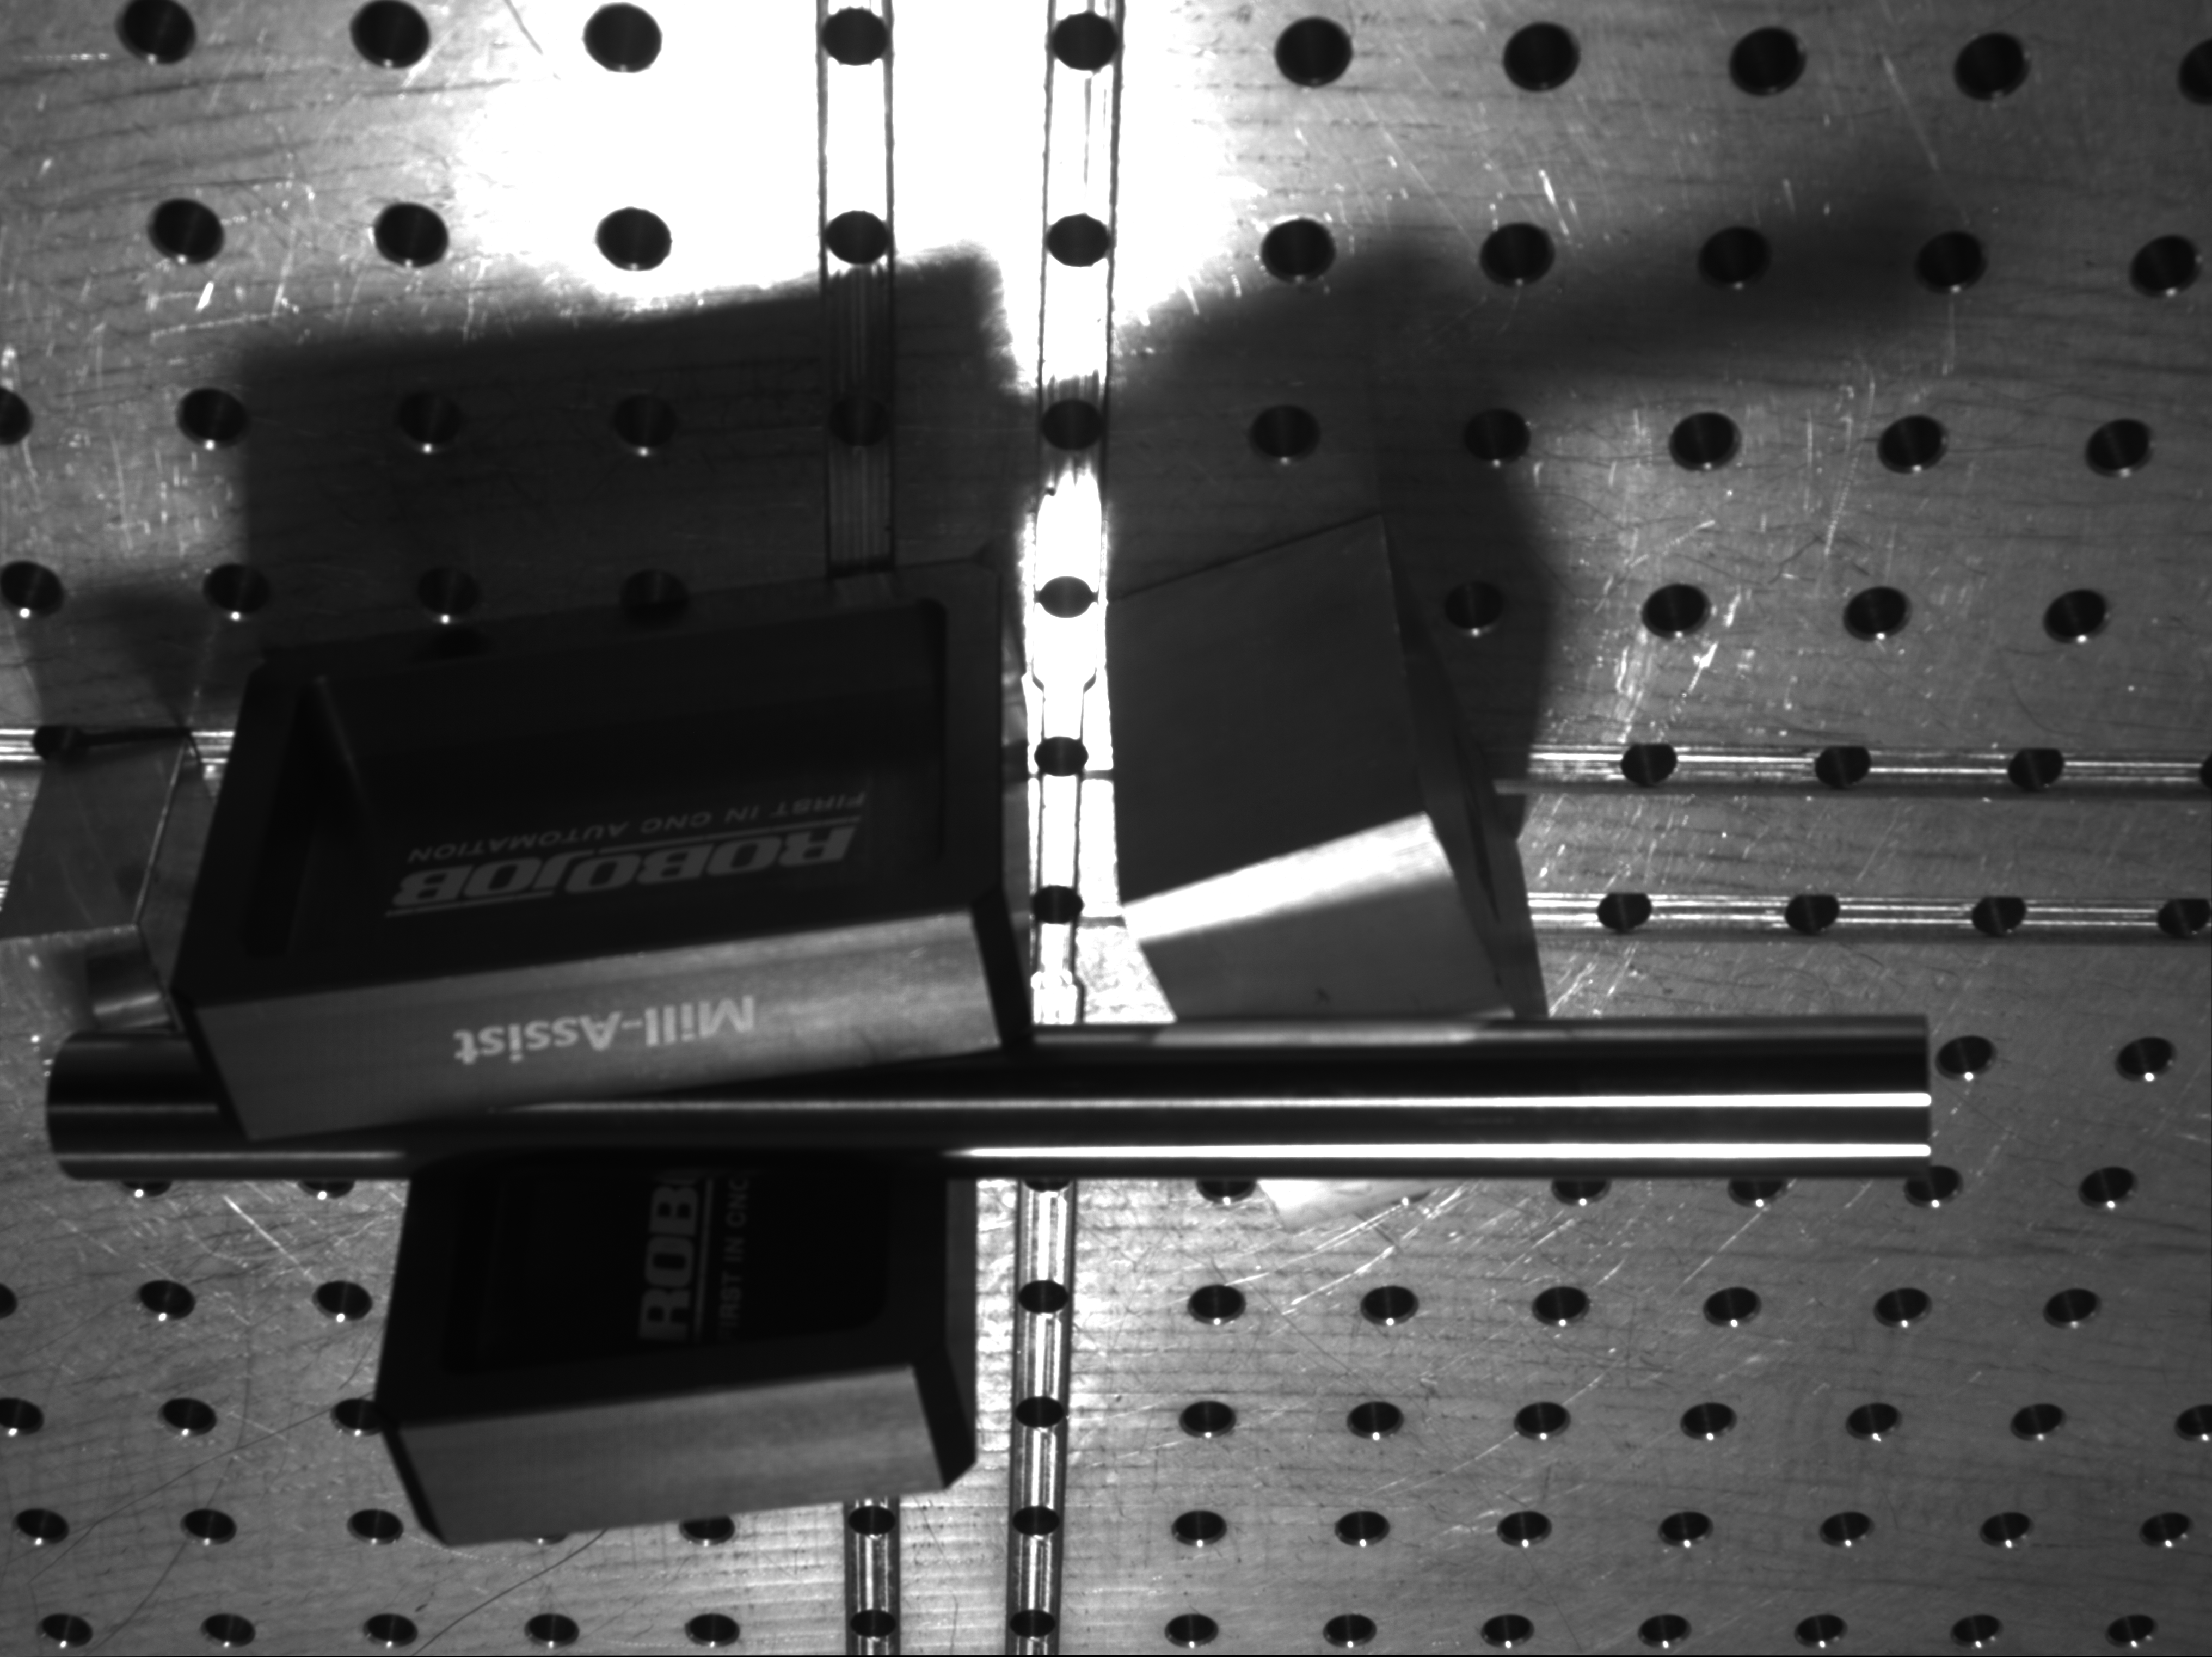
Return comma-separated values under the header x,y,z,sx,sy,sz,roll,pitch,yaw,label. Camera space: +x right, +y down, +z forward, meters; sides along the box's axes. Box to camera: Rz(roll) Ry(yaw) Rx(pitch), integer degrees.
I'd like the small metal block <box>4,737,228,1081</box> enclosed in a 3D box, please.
x,y,z,sx,sy,sz,roll,pitch,yaw,label
-0.166,0.020,0.636,0.025,0.050,0.050,-6,130,4,small metal block

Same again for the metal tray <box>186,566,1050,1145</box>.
x,y,z,sx,sy,sz,roll,pitch,yaw,label
-0.076,0.003,0.598,0.130,0.090,0.030,-7,131,4,metal tray

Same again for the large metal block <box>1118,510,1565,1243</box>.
x,y,z,sx,sy,sz,roll,pitch,yaw,label
0.041,0.008,0.612,0.050,0.080,0.080,-17,128,13,large metal block

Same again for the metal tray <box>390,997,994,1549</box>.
x,y,z,sx,sy,sz,roll,pitch,yaw,label
-0.066,0.056,0.618,0.090,0.130,0.030,-7,130,4,metal tray

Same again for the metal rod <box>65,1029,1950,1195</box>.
x,y,z,sx,sy,sz,roll,pitch,yaw,label
-0.020,0.045,0.580,0.300,0.025,0.025,-1,131,11,metal rod
